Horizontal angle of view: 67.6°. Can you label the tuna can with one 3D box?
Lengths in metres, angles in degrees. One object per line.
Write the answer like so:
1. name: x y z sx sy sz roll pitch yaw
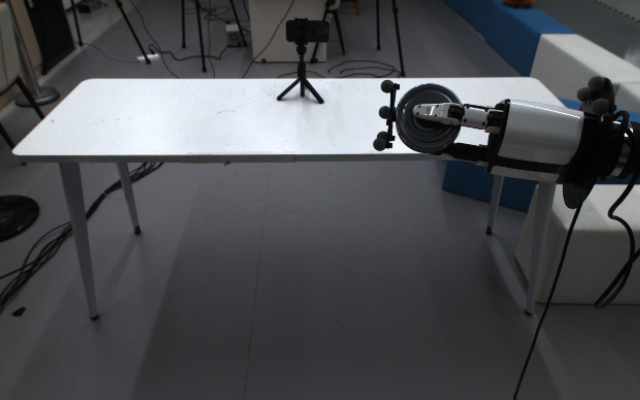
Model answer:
1. tuna can: 0.143 -0.109 0.631 0.085 0.085 0.034 9 -7 10
